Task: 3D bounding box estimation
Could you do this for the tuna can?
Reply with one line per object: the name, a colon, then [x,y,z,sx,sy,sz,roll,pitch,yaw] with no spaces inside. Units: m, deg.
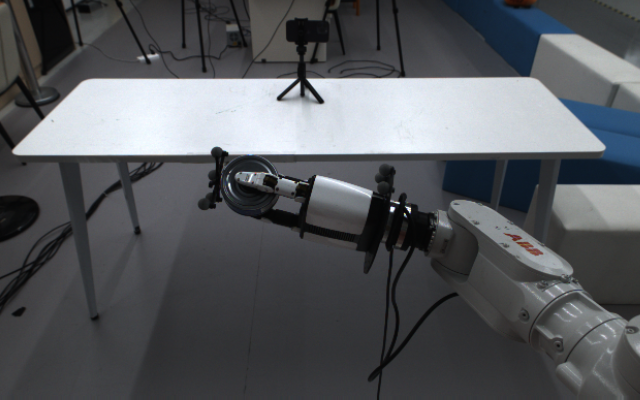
tuna can: [-0.099,-0.022,0.699,0.085,0.034,0.085,1,74,-5]
